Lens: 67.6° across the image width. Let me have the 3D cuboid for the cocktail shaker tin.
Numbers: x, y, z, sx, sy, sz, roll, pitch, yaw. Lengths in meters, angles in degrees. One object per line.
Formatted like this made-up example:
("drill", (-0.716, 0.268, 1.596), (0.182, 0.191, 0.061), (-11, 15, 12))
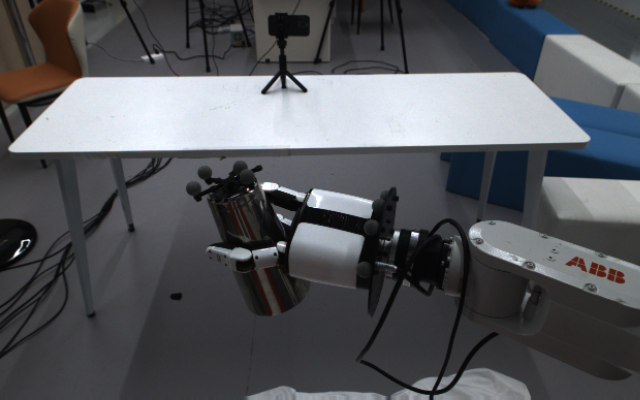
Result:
("cocktail shaker tin", (-0.081, 0.056, 0.623), (0.093, 0.170, 0.093), (-15, 29, 8))
